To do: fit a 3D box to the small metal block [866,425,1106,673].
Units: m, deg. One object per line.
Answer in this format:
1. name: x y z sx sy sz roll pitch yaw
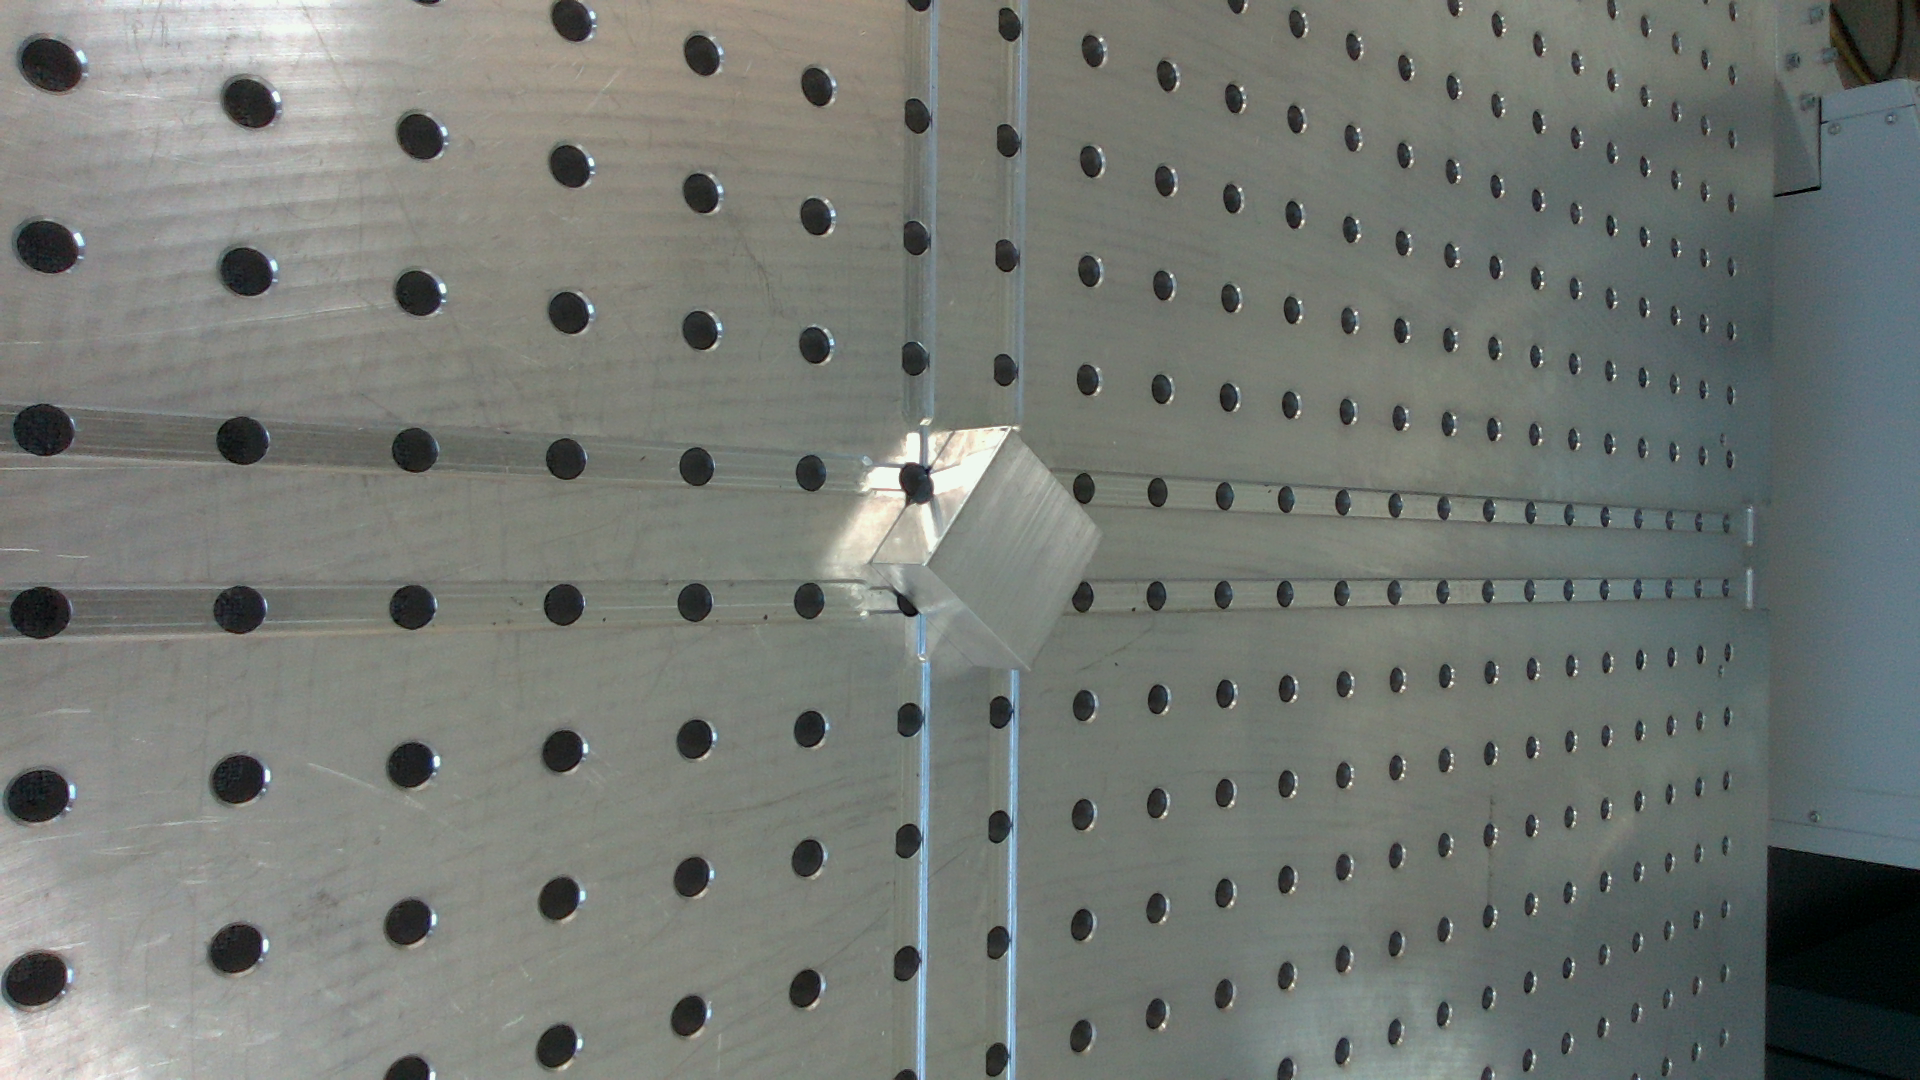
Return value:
1. small metal block: 0.009 0.003 0.399 0.050 0.025 0.050 46 63 -30
